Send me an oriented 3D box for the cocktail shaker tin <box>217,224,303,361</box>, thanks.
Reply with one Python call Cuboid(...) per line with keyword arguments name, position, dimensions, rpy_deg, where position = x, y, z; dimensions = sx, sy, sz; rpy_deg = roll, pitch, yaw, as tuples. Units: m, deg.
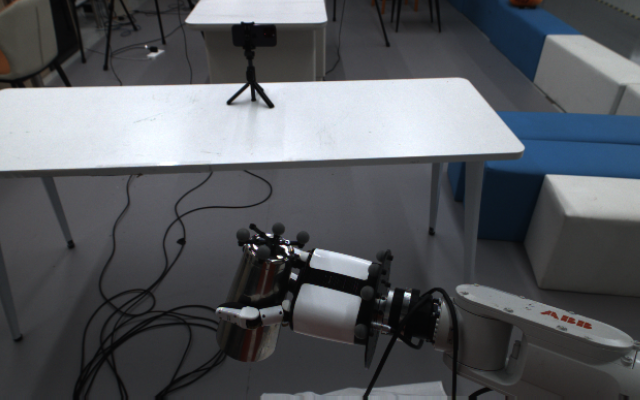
Cuboid(name="cocktail shaker tin", position=(-0.085, 0.131, 0.678), dimensions=(0.093, 0.170, 0.093), rpy_deg=(12, 29, -7))
